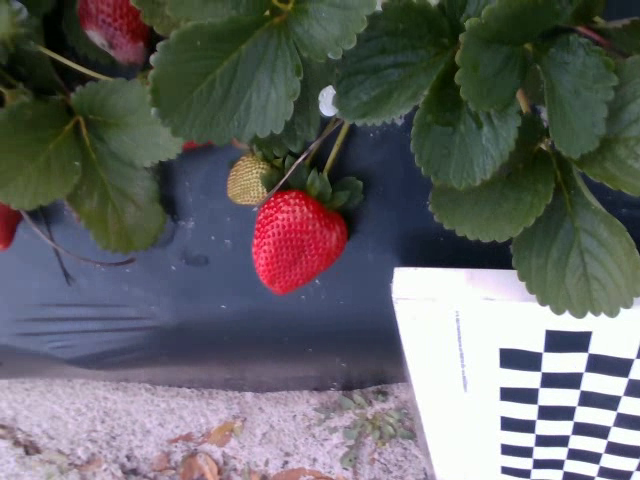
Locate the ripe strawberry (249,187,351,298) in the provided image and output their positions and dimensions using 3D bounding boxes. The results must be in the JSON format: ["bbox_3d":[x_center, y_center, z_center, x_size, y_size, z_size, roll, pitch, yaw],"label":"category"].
[{"bbox_3d":[-0.016,0.006,0.356,0.056,0.065,0.057,31,-22,-24],"label":"ripe strawberry"}]
